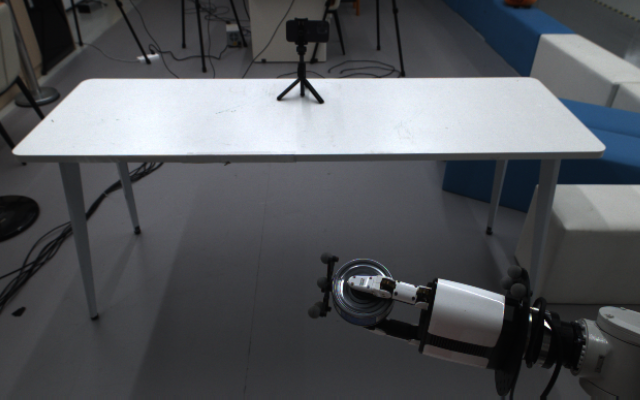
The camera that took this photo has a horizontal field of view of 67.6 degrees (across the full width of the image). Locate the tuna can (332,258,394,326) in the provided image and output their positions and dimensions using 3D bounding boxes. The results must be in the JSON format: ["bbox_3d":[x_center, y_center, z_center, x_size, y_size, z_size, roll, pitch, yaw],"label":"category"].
[{"bbox_3d":[0.062,0.126,0.645,0.085,0.034,0.085,-2,57,3],"label":"tuna can"}]
